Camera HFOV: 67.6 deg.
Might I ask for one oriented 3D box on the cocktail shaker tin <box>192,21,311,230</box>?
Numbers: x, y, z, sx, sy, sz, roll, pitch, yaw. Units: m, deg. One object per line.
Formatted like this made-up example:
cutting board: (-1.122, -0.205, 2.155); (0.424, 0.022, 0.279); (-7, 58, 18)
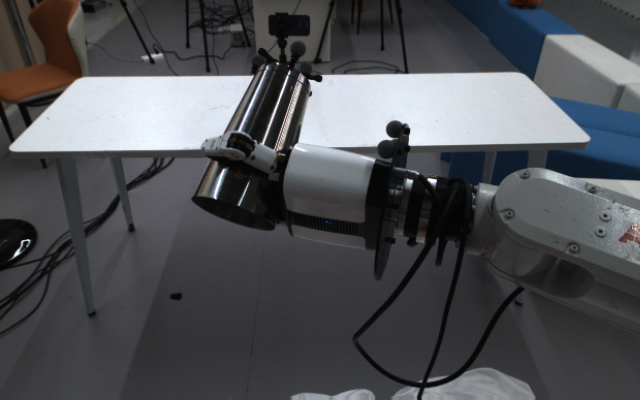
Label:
cocktail shaker tin: (-0.067, -0.062, 0.532); (0.093, 0.093, 0.170); (14, 72, 16)
